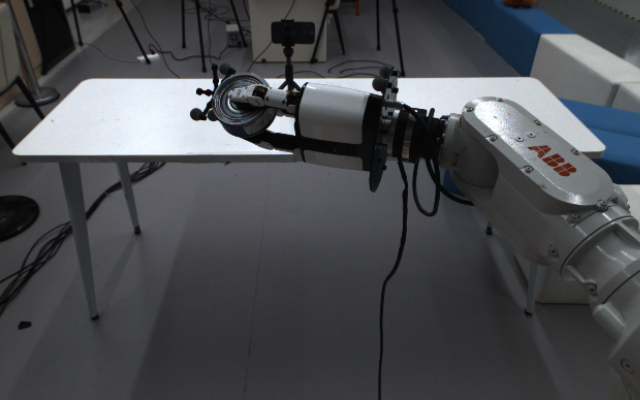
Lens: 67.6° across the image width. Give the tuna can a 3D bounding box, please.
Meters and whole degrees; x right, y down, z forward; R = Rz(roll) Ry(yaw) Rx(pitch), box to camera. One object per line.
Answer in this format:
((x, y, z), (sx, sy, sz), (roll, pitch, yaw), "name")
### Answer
((-0.103, -0.133, 0.668), (0.085, 0.034, 0.085), (-3, 70, 10), "tuna can")
